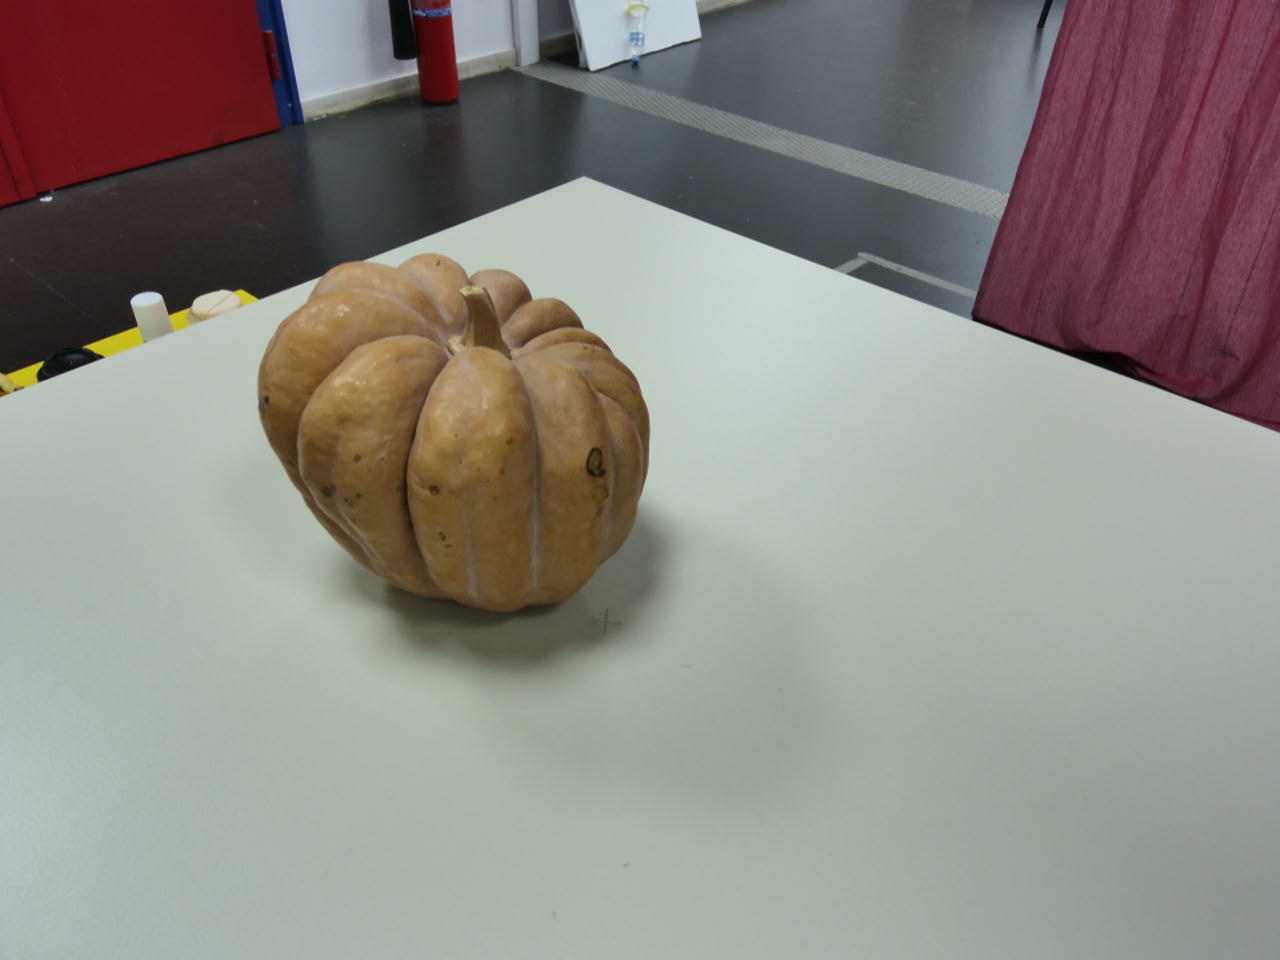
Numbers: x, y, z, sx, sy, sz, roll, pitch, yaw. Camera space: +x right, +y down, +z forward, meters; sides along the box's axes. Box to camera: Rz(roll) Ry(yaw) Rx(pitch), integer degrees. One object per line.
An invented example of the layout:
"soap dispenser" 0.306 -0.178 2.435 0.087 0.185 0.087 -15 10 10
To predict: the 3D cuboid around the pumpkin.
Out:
"pumpkin" -0.092 -0.022 0.519 0.199 0.177 0.198 1 37 -1
